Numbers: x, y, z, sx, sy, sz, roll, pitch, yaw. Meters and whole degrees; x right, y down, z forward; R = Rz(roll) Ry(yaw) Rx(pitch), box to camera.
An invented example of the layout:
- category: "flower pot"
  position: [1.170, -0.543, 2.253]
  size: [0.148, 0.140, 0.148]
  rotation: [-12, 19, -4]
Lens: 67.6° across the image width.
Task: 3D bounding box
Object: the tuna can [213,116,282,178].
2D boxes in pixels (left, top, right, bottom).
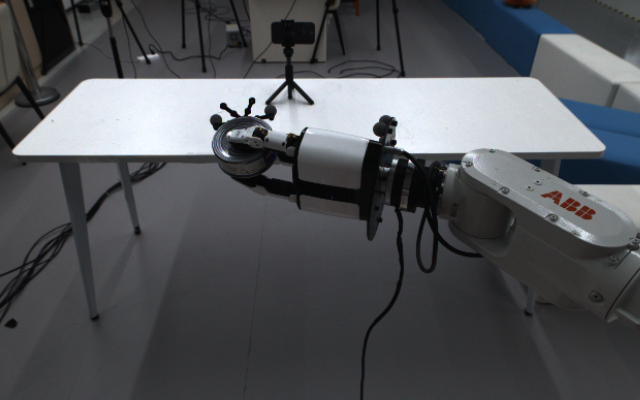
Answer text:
- category: "tuna can"
  position: [-0.099, -0.068, 0.661]
  size: [0.085, 0.034, 0.085]
  rotation: [-3, 58, 5]
